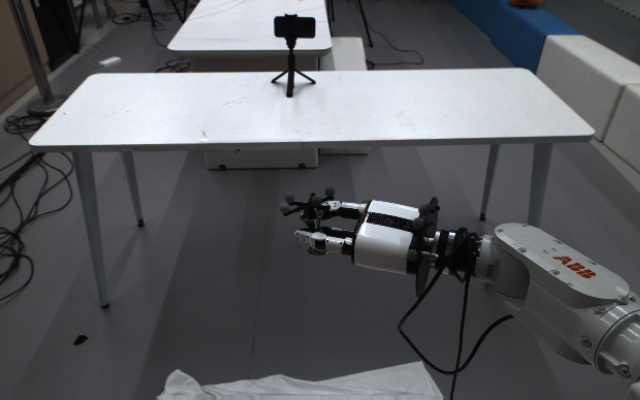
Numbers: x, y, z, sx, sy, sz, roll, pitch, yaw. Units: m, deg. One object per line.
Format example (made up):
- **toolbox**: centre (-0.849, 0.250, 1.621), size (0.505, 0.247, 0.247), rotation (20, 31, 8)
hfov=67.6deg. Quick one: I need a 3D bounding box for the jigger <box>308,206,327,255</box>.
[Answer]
- **jigger**: centre (-0.007, 0.054, 0.811), size (0.043, 0.071, 0.043), rotation (-12, 24, 5)
